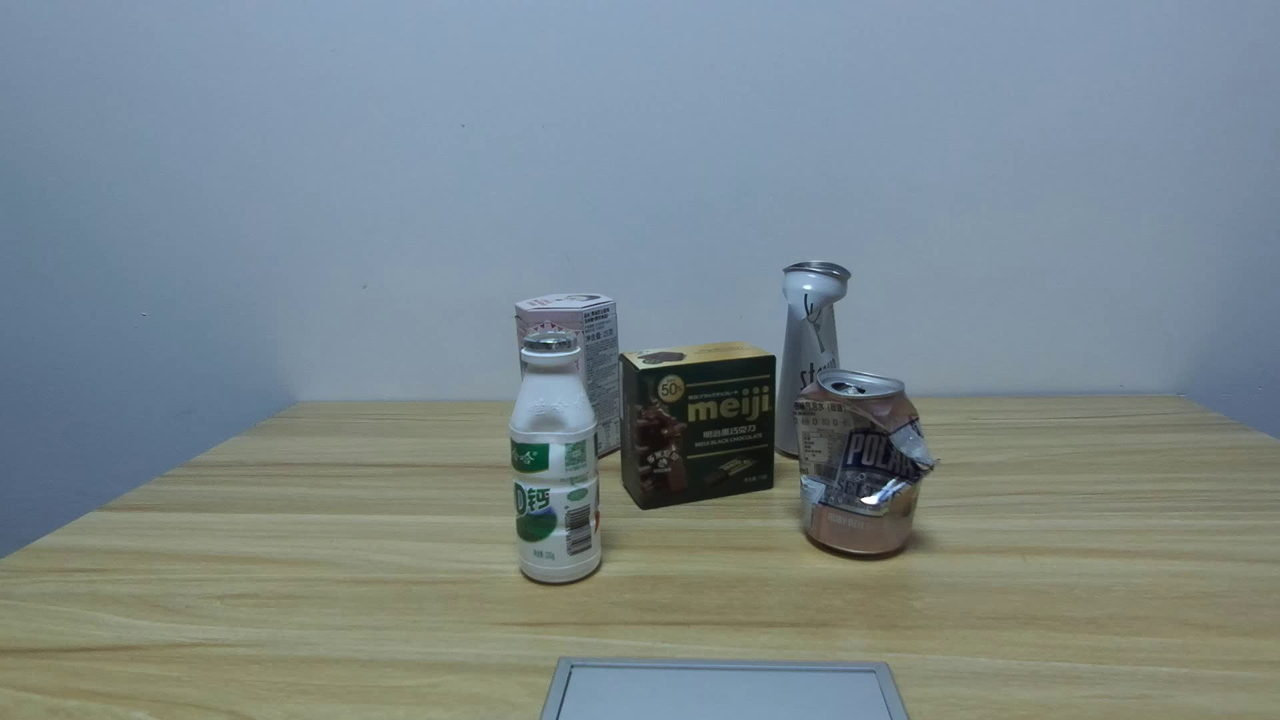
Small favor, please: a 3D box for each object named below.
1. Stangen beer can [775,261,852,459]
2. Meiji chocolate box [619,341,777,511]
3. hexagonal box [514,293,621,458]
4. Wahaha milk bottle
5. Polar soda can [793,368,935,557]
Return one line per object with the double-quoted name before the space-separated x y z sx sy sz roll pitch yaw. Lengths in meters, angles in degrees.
"Stangen beer can" 0.148 0.000 0.602 0.066 0.162 0.077 -6 15 -9
"Meiji chocolate box" 0.044 0.048 0.537 0.110 0.109 0.056 -6 14 -16
"hexagonal box" -0.062 0.015 0.626 0.084 0.136 0.091 -7 15 -23
"Wahaha milk bottle" -0.051 0.064 0.425 0.053 0.136 0.053 -1 13 1
"Polar soda can" 0.140 0.065 0.447 0.074 0.114 0.070 -6 19 -2
